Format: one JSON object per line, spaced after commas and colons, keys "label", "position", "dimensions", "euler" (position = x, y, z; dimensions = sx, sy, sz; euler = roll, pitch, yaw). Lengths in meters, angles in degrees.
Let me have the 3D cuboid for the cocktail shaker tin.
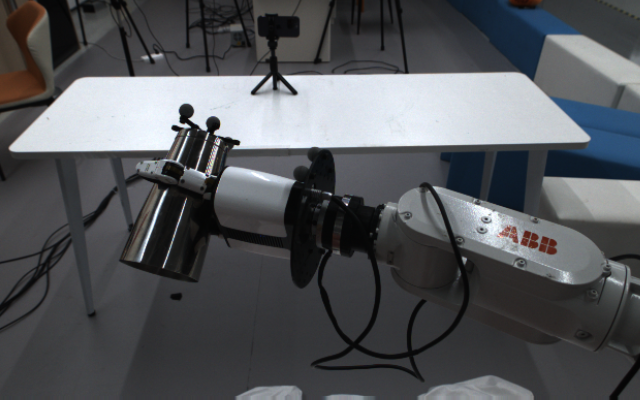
{"label": "cocktail shaker tin", "position": [-0.164, 0.005, 0.579], "dimensions": [0.093, 0.093, 0.170], "euler": [10, 71, 11]}
